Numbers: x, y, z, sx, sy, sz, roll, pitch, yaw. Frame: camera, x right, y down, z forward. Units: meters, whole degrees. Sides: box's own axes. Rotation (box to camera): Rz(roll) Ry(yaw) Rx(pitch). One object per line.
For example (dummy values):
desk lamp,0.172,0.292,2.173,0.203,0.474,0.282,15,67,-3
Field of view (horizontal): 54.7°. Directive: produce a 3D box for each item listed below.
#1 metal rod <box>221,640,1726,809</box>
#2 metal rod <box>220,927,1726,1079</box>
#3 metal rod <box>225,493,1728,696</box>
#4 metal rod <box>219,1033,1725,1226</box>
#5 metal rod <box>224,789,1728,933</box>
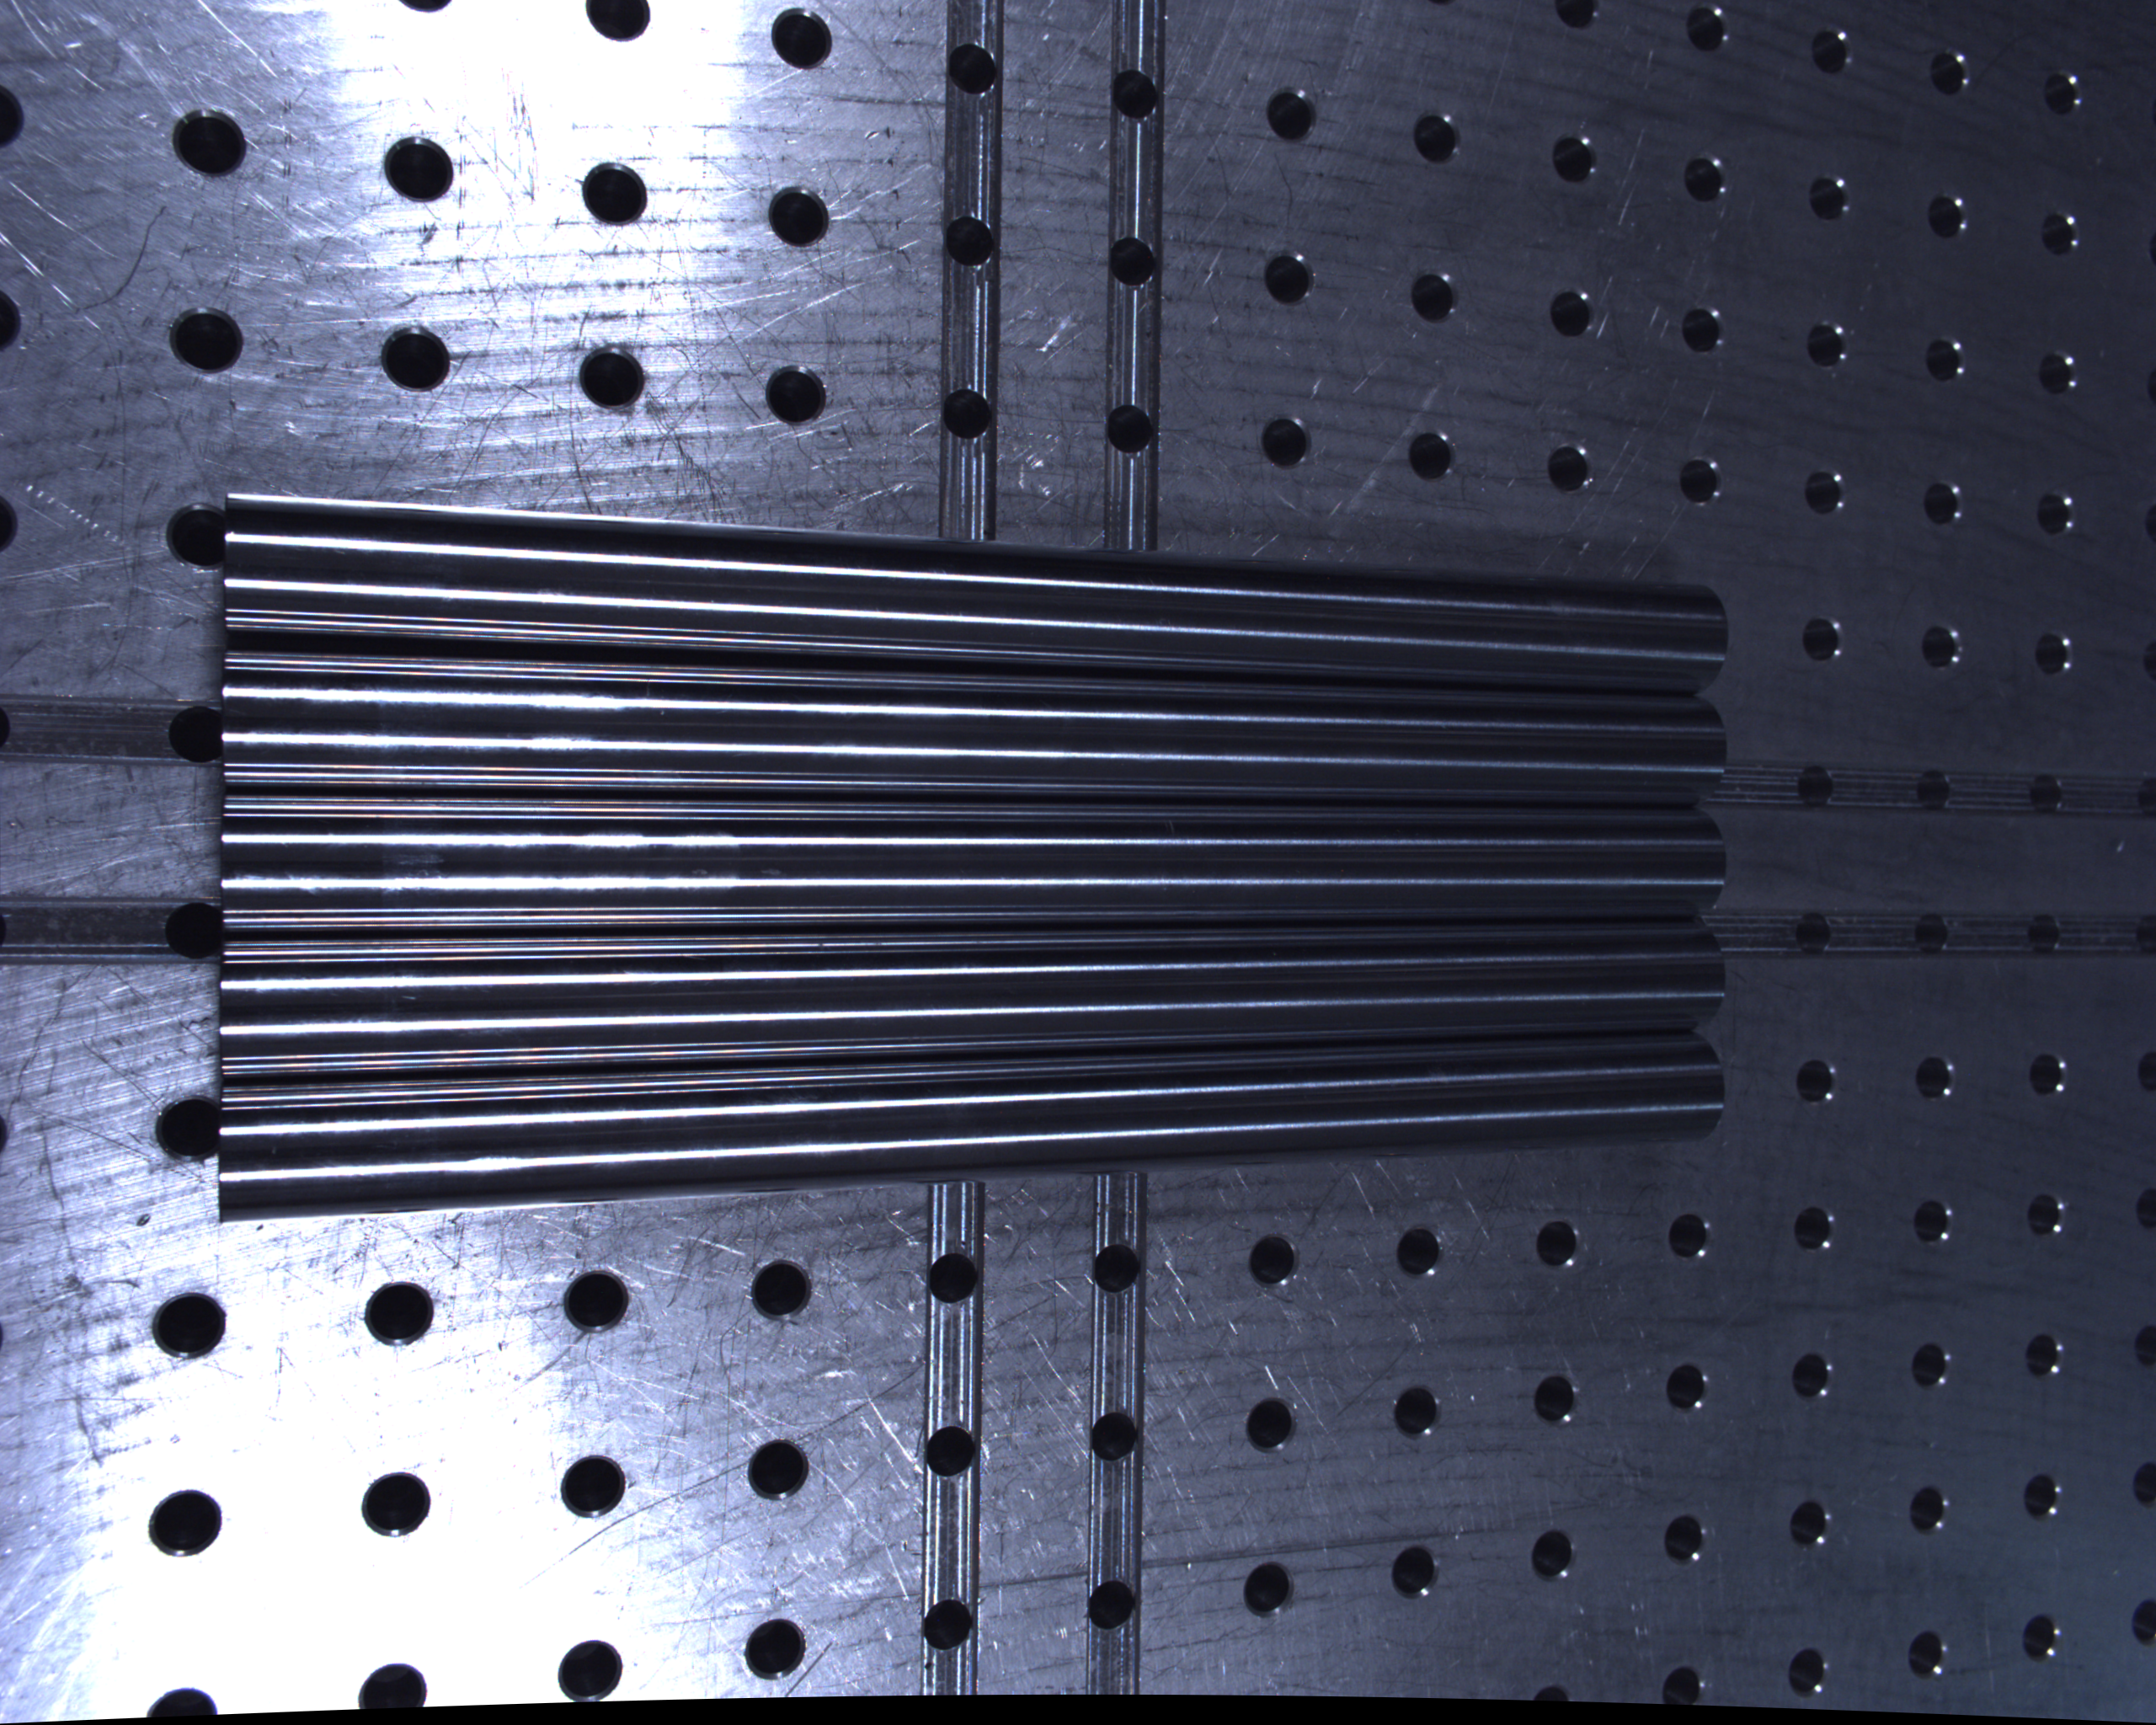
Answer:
metal rod,-0.005,-0.025,0.412,0.303,0.025,0.025,0,90,-21
metal rod,-0.005,0.026,0.411,0.303,0.025,0.025,0,90,-21
metal rod,-0.005,-0.050,0.412,0.303,0.025,0.025,0,90,-21
metal rod,-0.006,0.050,0.411,0.303,0.025,0.025,0,90,-21
metal rod,-0.005,0.001,0.412,0.303,0.025,0.025,0,90,-21
